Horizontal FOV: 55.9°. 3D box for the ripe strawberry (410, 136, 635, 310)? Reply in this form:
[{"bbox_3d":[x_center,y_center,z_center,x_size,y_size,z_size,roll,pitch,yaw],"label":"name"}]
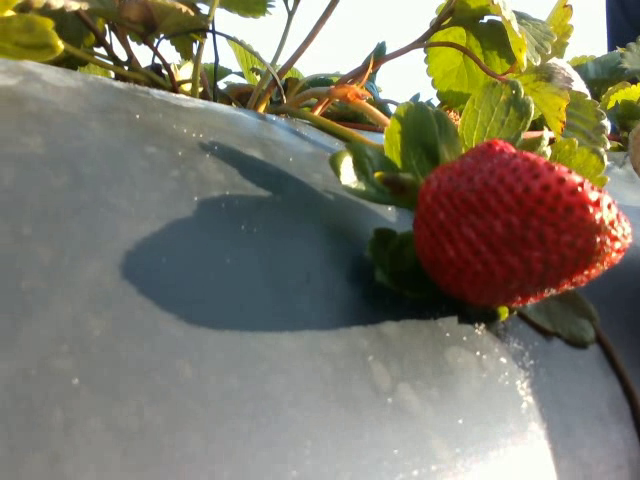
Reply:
[{"bbox_3d":[0.014,-0.002,0.043,0.015,0.015,0.022,16,-6,-14],"label":"ripe strawberry"}]
